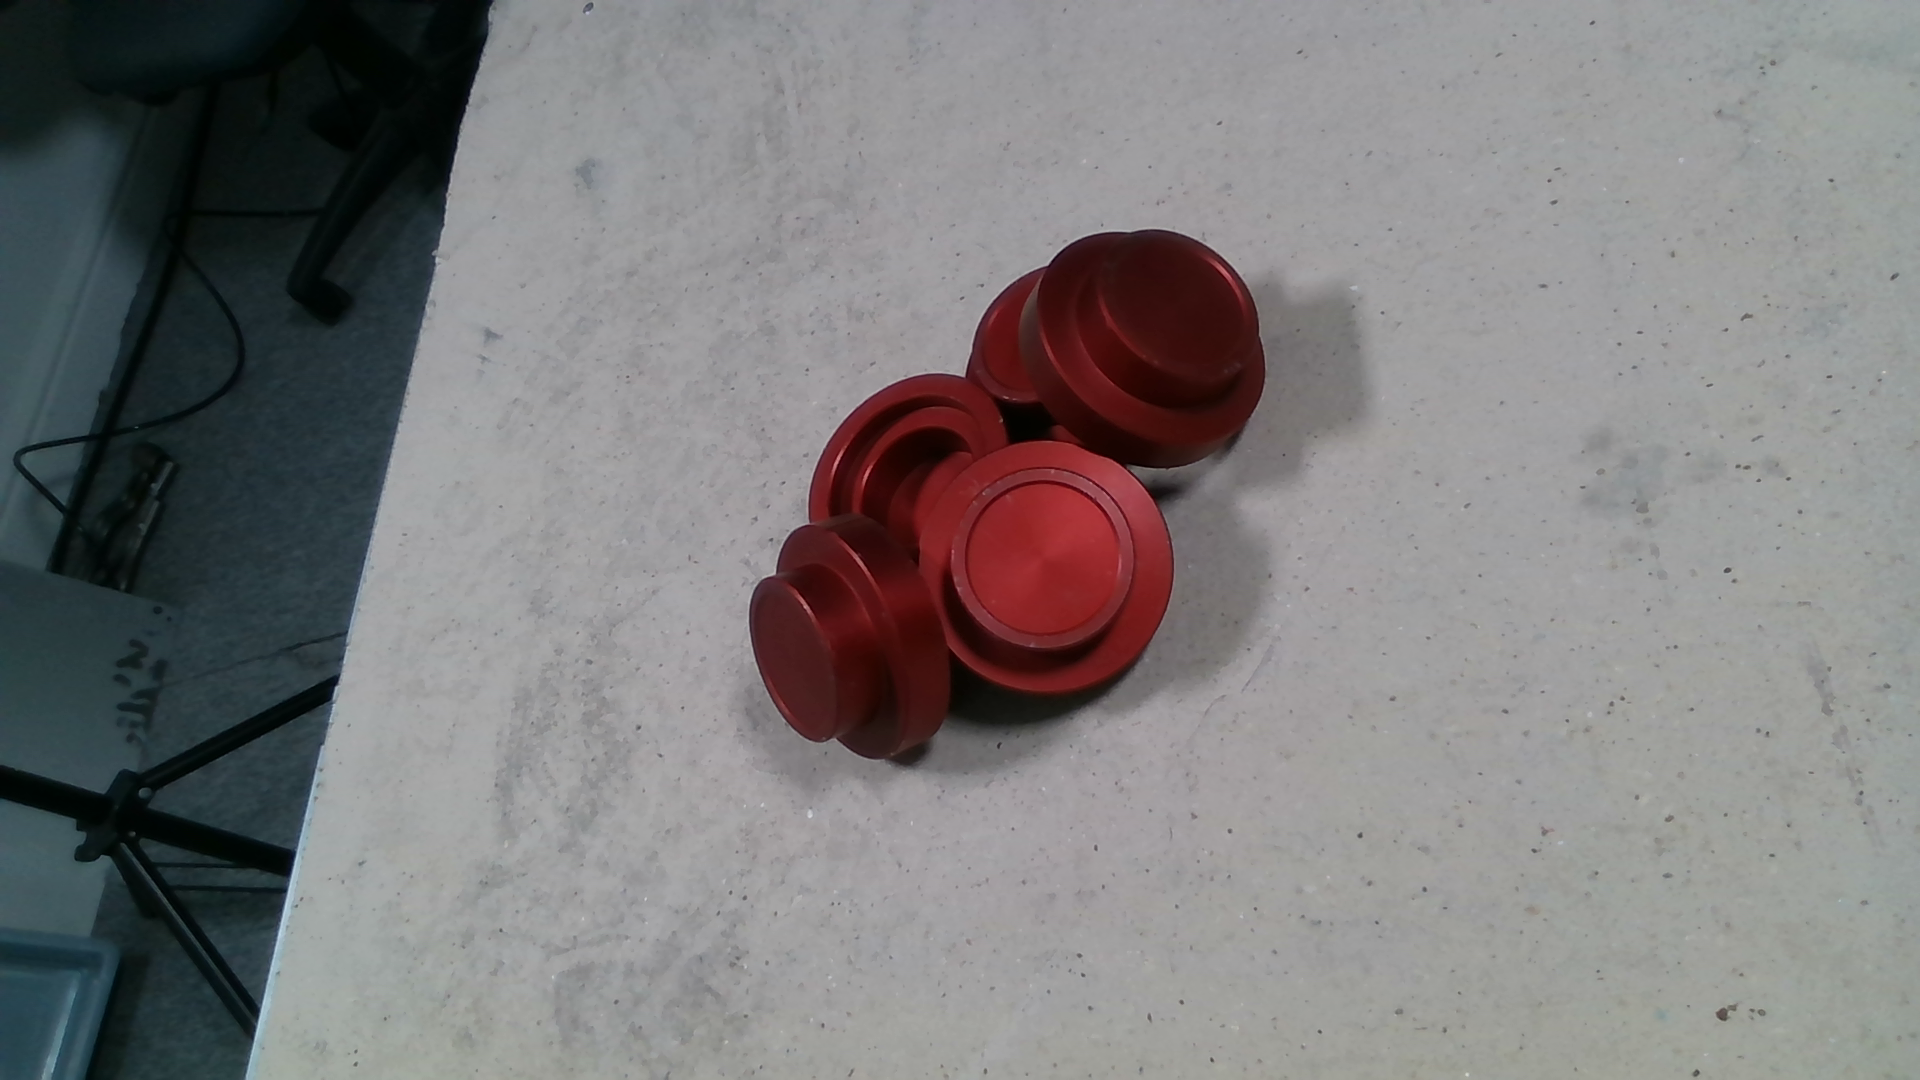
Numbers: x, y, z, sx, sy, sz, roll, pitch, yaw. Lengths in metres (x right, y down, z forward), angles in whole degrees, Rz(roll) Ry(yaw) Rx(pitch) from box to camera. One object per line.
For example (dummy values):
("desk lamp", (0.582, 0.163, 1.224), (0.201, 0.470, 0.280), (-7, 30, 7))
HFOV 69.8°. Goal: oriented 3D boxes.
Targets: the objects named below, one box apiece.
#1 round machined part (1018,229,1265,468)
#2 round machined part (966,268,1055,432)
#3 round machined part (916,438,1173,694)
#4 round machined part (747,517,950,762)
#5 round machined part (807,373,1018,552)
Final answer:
("round machined part", (0.076, -0.080, 0.533), (0.042, 0.098, 0.098), (128, 148, -57))
("round machined part", (0.045, -0.079, 0.590), (0.098, 0.042, 0.098), (-14, 59, 25))
("round machined part", (0.032, 0.009, 0.522), (0.098, 0.042, 0.098), (-1, 83, 4))
("round machined part", (-0.050, 0.043, 0.547), (0.042, 0.098, 0.098), (-21, 42, -31))
("round machined part", (-0.014, -0.019, 0.593), (0.098, 0.042, 0.098), (-14, 59, 25))
